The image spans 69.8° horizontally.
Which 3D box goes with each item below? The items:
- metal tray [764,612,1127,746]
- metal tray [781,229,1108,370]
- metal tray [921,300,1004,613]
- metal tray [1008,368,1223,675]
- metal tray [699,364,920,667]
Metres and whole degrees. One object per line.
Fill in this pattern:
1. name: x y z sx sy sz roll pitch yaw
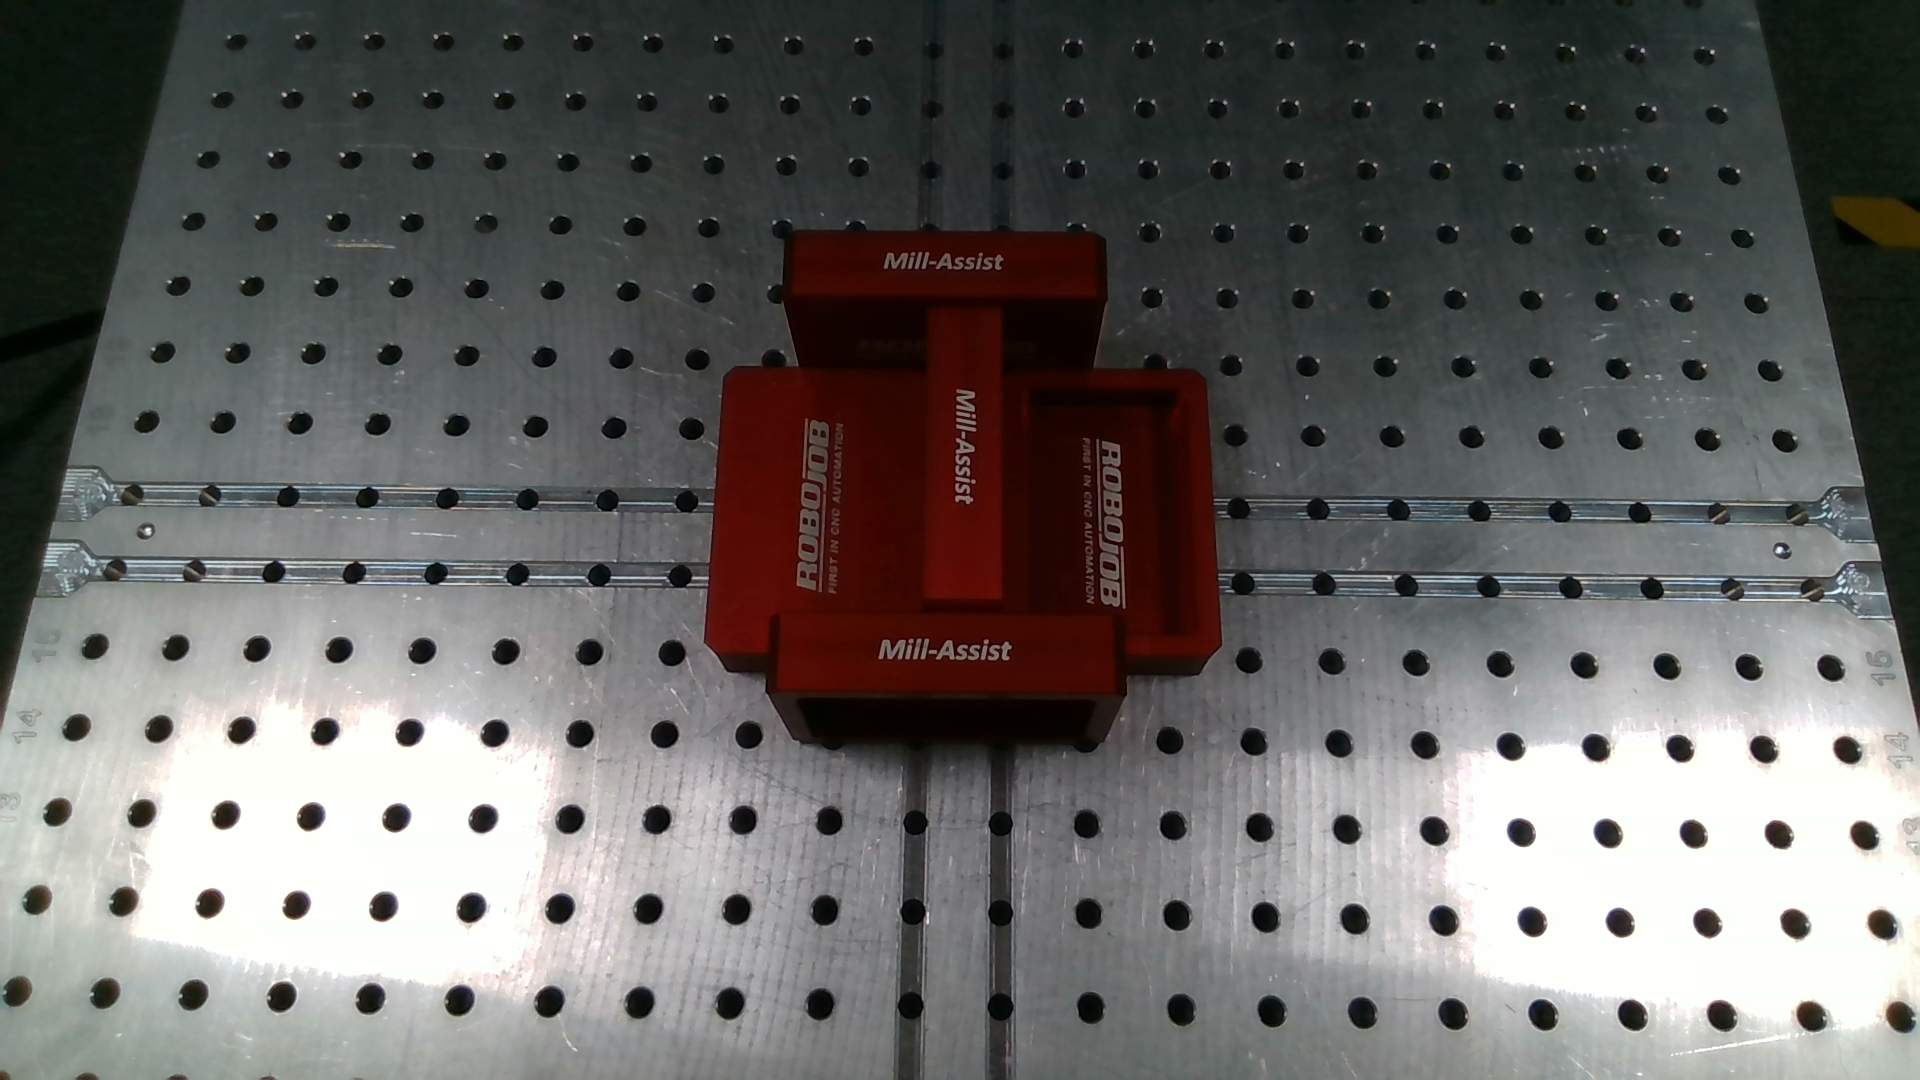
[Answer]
1. metal tray: -0.005 0.056 0.535 0.130 0.090 0.030 1 70 0
2. metal tray: -0.006 -0.095 0.590 0.130 0.090 0.030 1 70 0
3. metal tray: 0.002 -0.021 0.562 0.030 0.090 0.130 1 70 0
4. metal tray: 0.062 -0.009 0.591 0.090 0.030 0.130 0 70 0
5. metal tray: -0.060 -0.010 0.590 0.090 0.030 0.130 0 70 0
